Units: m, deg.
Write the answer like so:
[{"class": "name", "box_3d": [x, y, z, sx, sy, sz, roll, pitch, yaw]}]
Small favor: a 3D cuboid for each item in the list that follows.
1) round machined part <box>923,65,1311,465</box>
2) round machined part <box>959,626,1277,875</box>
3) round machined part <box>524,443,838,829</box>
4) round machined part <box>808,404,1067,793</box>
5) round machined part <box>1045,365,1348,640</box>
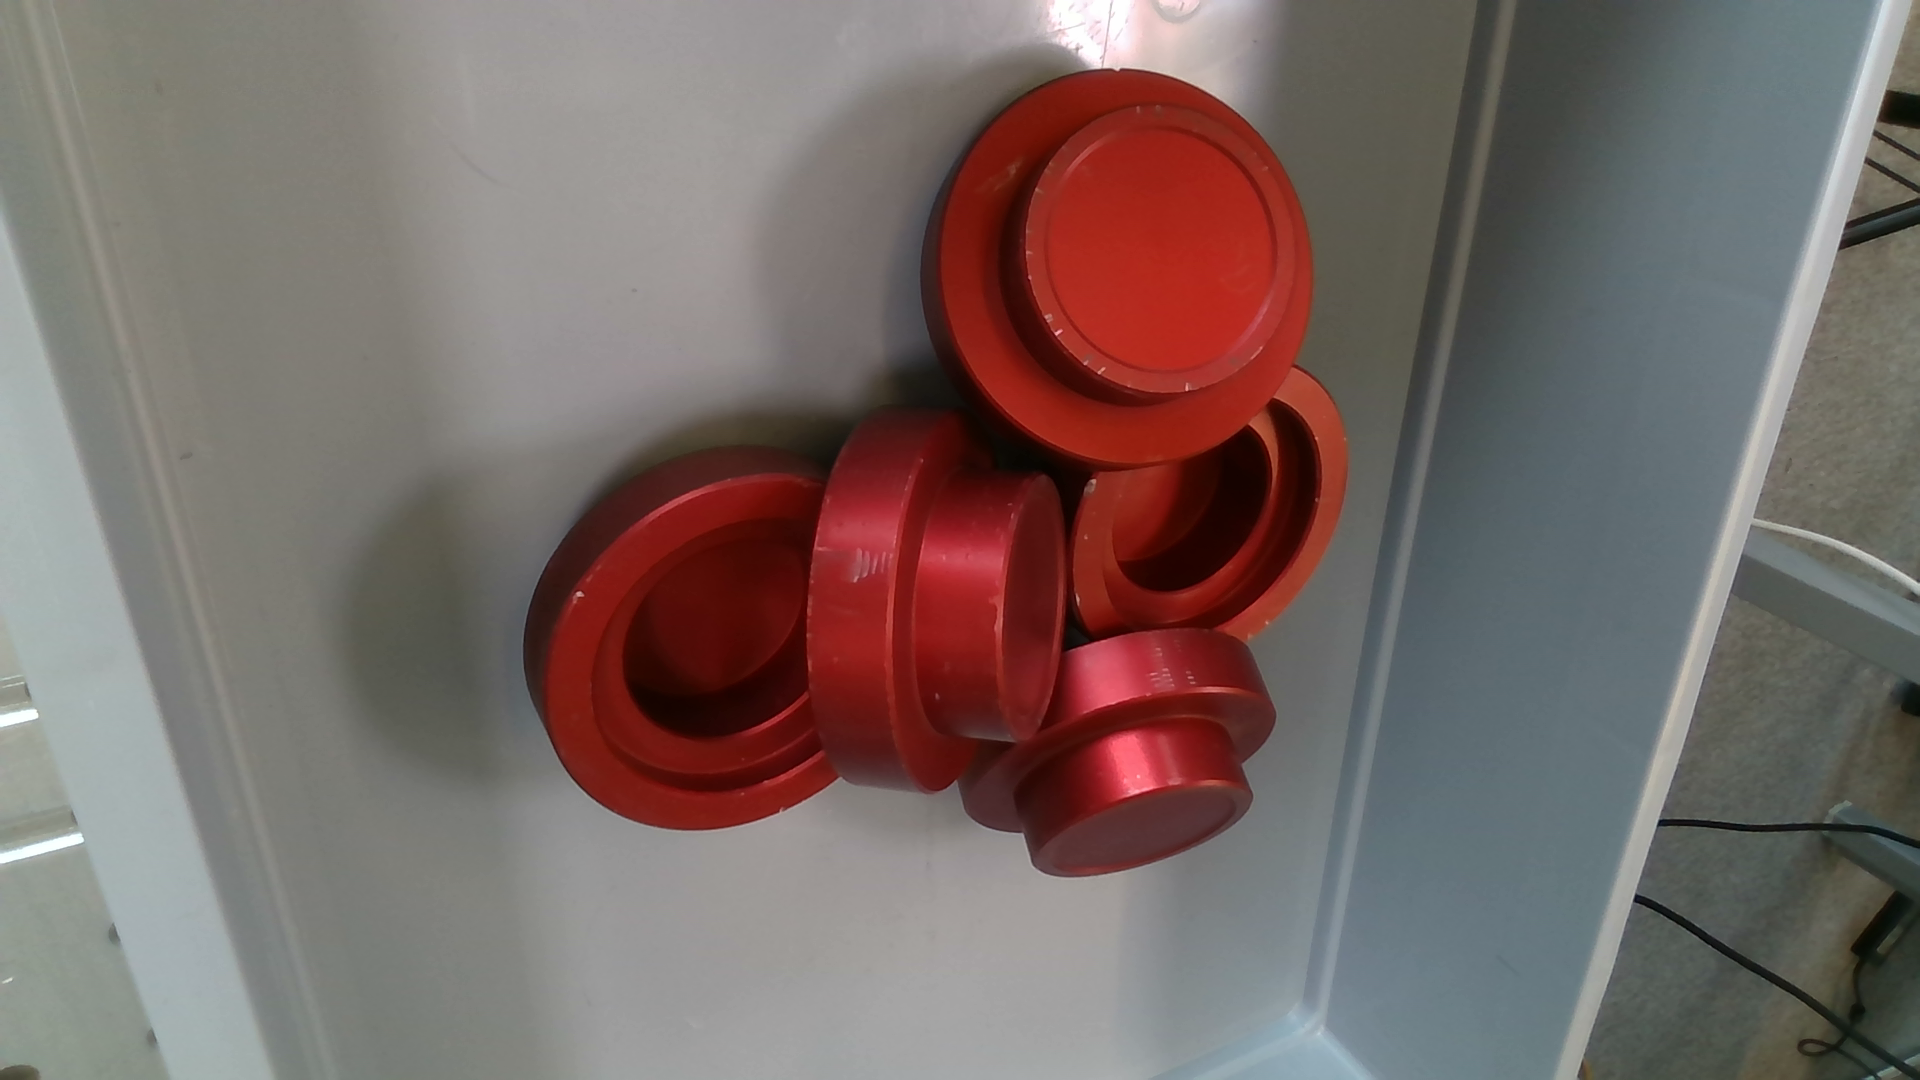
[{"class": "round machined part", "box_3d": [0.042, -0.068, 0.339, 0.098, 0.042, 0.098, 0, 90, -14]}, {"class": "round machined part", "box_3d": [0.049, 0.068, 0.416, 0.098, 0.042, 0.098, -12, 150, -7]}, {"class": "round machined part", "box_3d": [-0.061, 0.021, 0.350, 0.098, 0.042, 0.098, -14, 122, -25]}, {"class": "round machined part", "box_3d": [0.000, 0.015, 0.349, 0.042, 0.098, 0.098, 4, 123, 16]}, {"class": "round machined part", "box_3d": [0.063, -0.014, 0.407, 0.098, 0.042, 0.098, -14, 122, -25]}]
